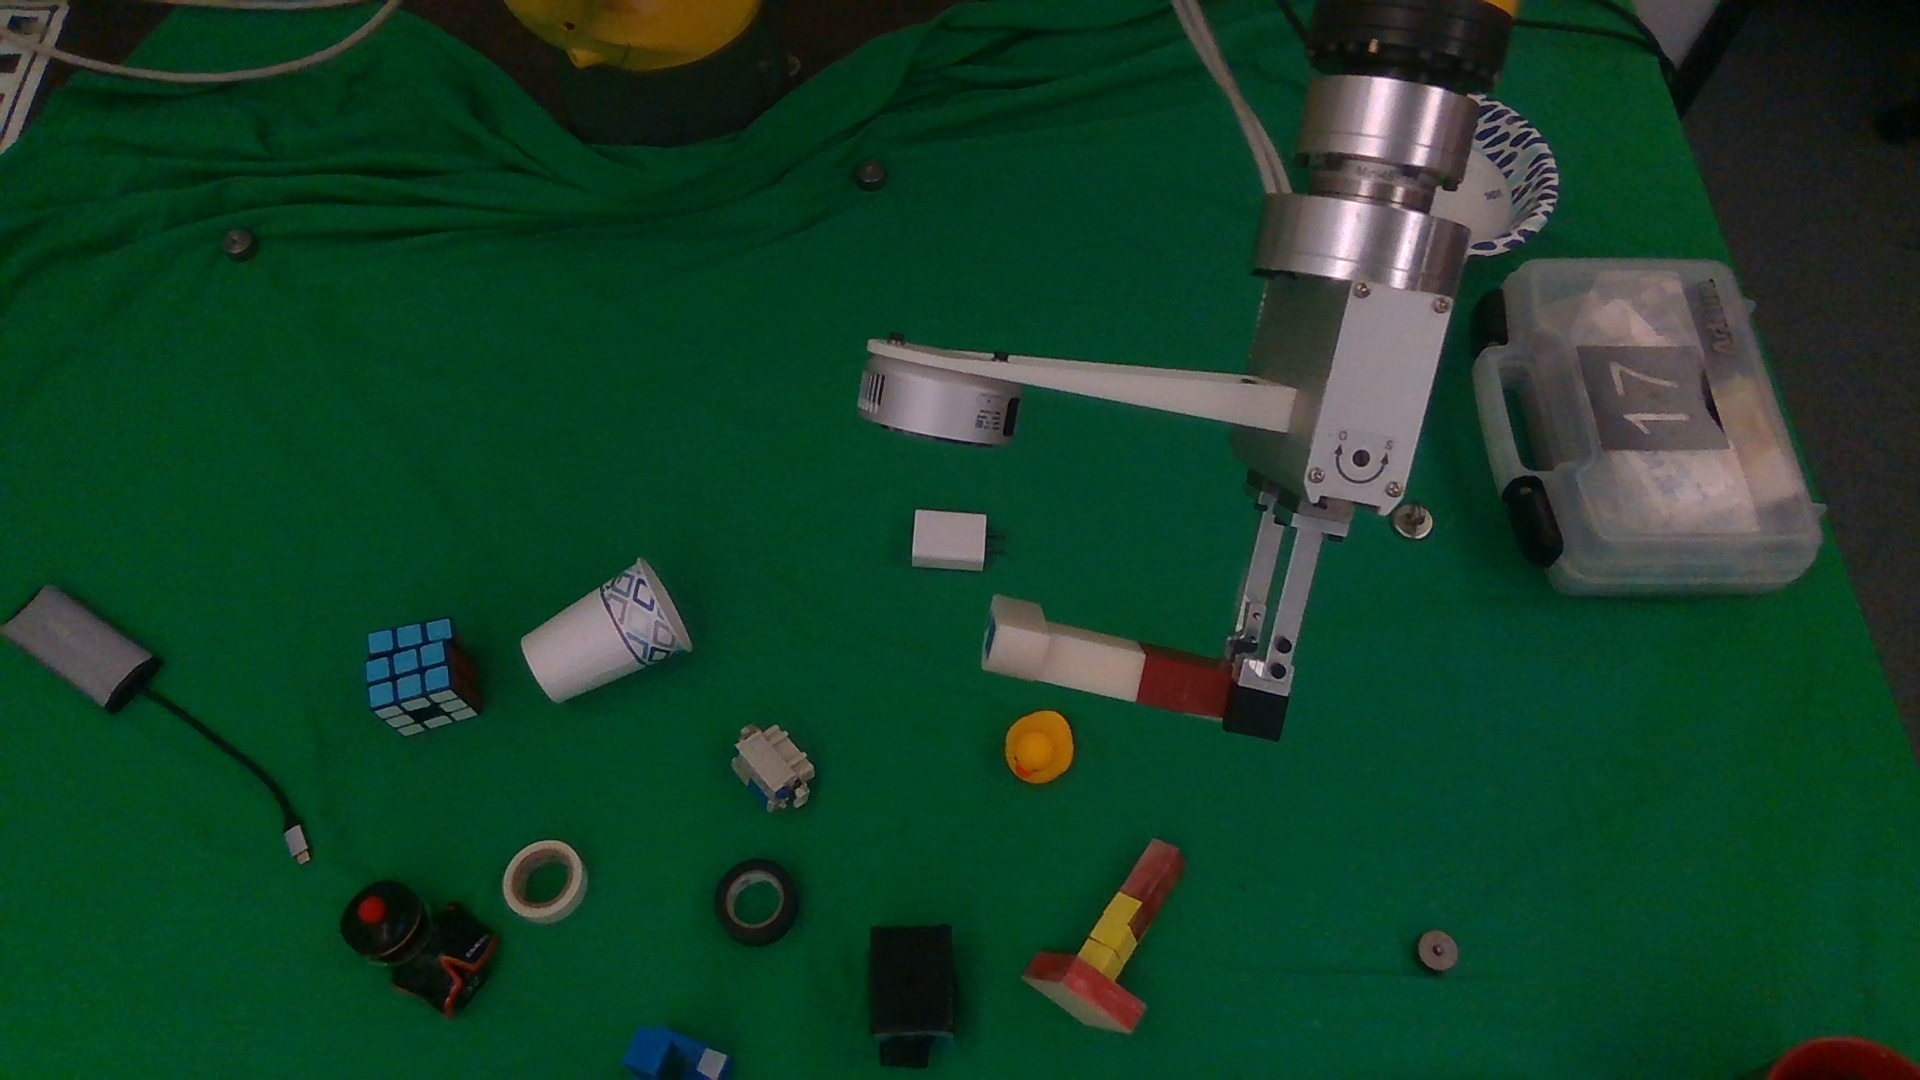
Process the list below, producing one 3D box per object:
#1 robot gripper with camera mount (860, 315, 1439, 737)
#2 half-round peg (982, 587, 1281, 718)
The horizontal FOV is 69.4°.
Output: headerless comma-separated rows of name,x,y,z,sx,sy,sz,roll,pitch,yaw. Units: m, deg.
robot gripper with camera mount,0.054,-0.015,0.539,0.193,0.119,0.158,9,102,-5
half-round peg,0.070,0.050,0.558,0.122,0.054,0.031,13,102,-3
